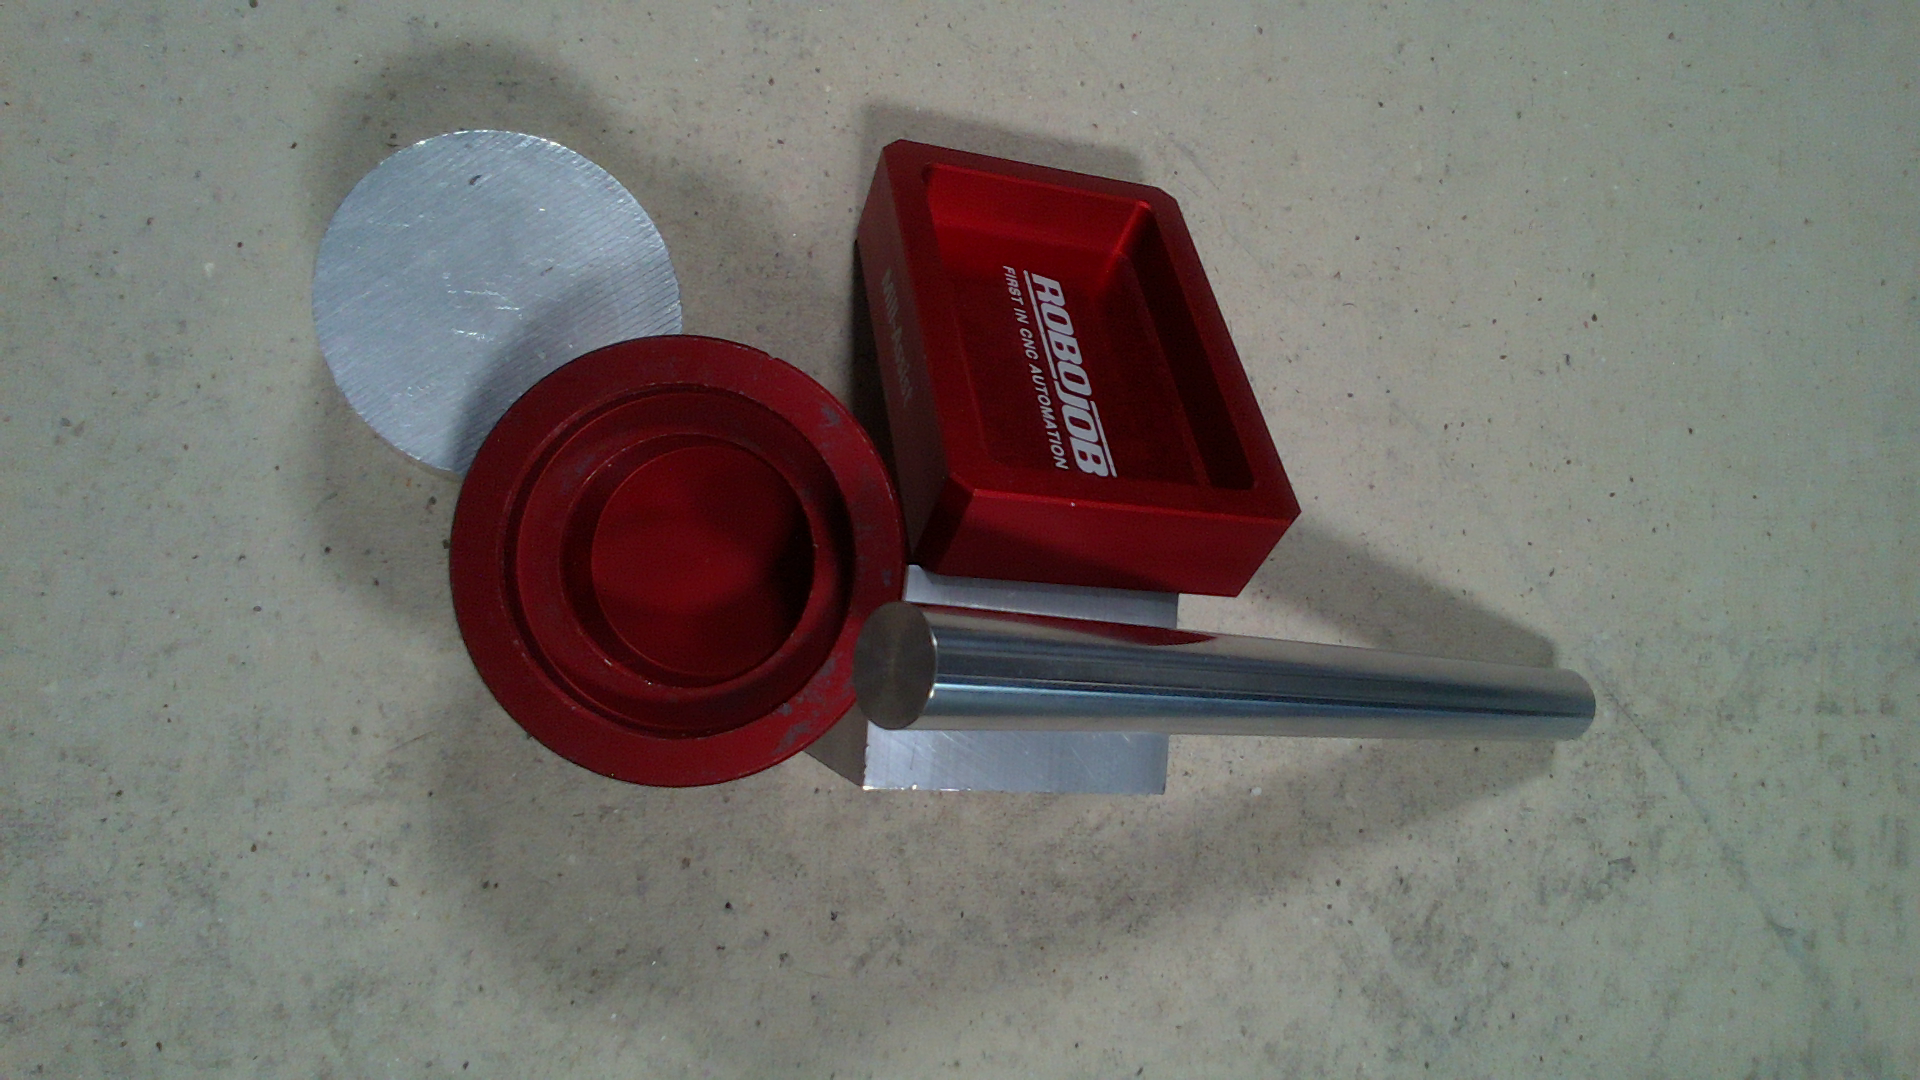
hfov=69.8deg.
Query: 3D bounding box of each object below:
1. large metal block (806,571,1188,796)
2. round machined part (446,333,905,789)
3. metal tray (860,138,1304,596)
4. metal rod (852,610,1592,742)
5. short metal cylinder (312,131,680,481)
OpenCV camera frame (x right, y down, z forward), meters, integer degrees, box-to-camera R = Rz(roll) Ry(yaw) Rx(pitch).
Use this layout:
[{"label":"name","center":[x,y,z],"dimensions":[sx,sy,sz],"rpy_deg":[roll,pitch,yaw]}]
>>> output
[{"label":"large metal block","center":[0.004,0.035,0.365],"dimensions":[0.080,0.080,0.050],"rpy_deg":[5,88,-20]},{"label":"round machined part","center":[-0.061,0.005,0.315],"dimensions":[0.098,0.042,0.098],"rpy_deg":[0,89,0]},{"label":"metal tray","center":[0.026,-0.048,0.360],"dimensions":[0.090,0.030,0.130],"rpy_deg":[5,49,-20]},{"label":"metal rod","center":[0.095,0.040,0.366],"dimensions":[0.301,0.025,0.025],"rpy_deg":[7,87,-44]},{"label":"short metal cylinder","center":[-0.113,-0.054,0.339],"dimensions":[0.080,0.050,0.080],"rpy_deg":[0,90,-20]}]
